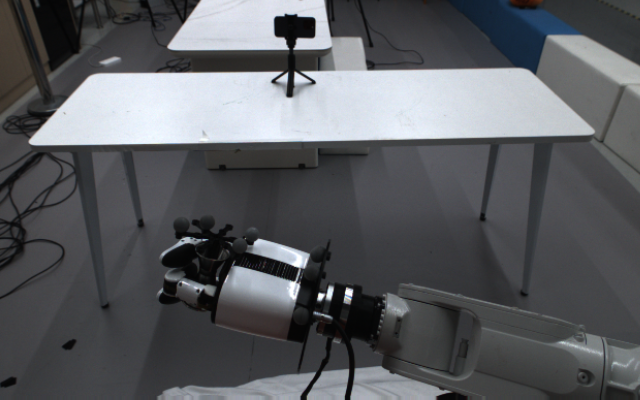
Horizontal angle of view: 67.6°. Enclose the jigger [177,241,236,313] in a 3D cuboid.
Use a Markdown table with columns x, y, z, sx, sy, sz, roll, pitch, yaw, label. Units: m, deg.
| x | y | z | sx | sy | sz | roll | pitch | yaw | label |
| --- | --- | --- | --- | --- | --- | --- | --- | --- | --- |
| -0.129 | 0.090 | 0.571 | 0.043 | 0.071 | 0.043 | 15 | 17 | -5 | jigger |
